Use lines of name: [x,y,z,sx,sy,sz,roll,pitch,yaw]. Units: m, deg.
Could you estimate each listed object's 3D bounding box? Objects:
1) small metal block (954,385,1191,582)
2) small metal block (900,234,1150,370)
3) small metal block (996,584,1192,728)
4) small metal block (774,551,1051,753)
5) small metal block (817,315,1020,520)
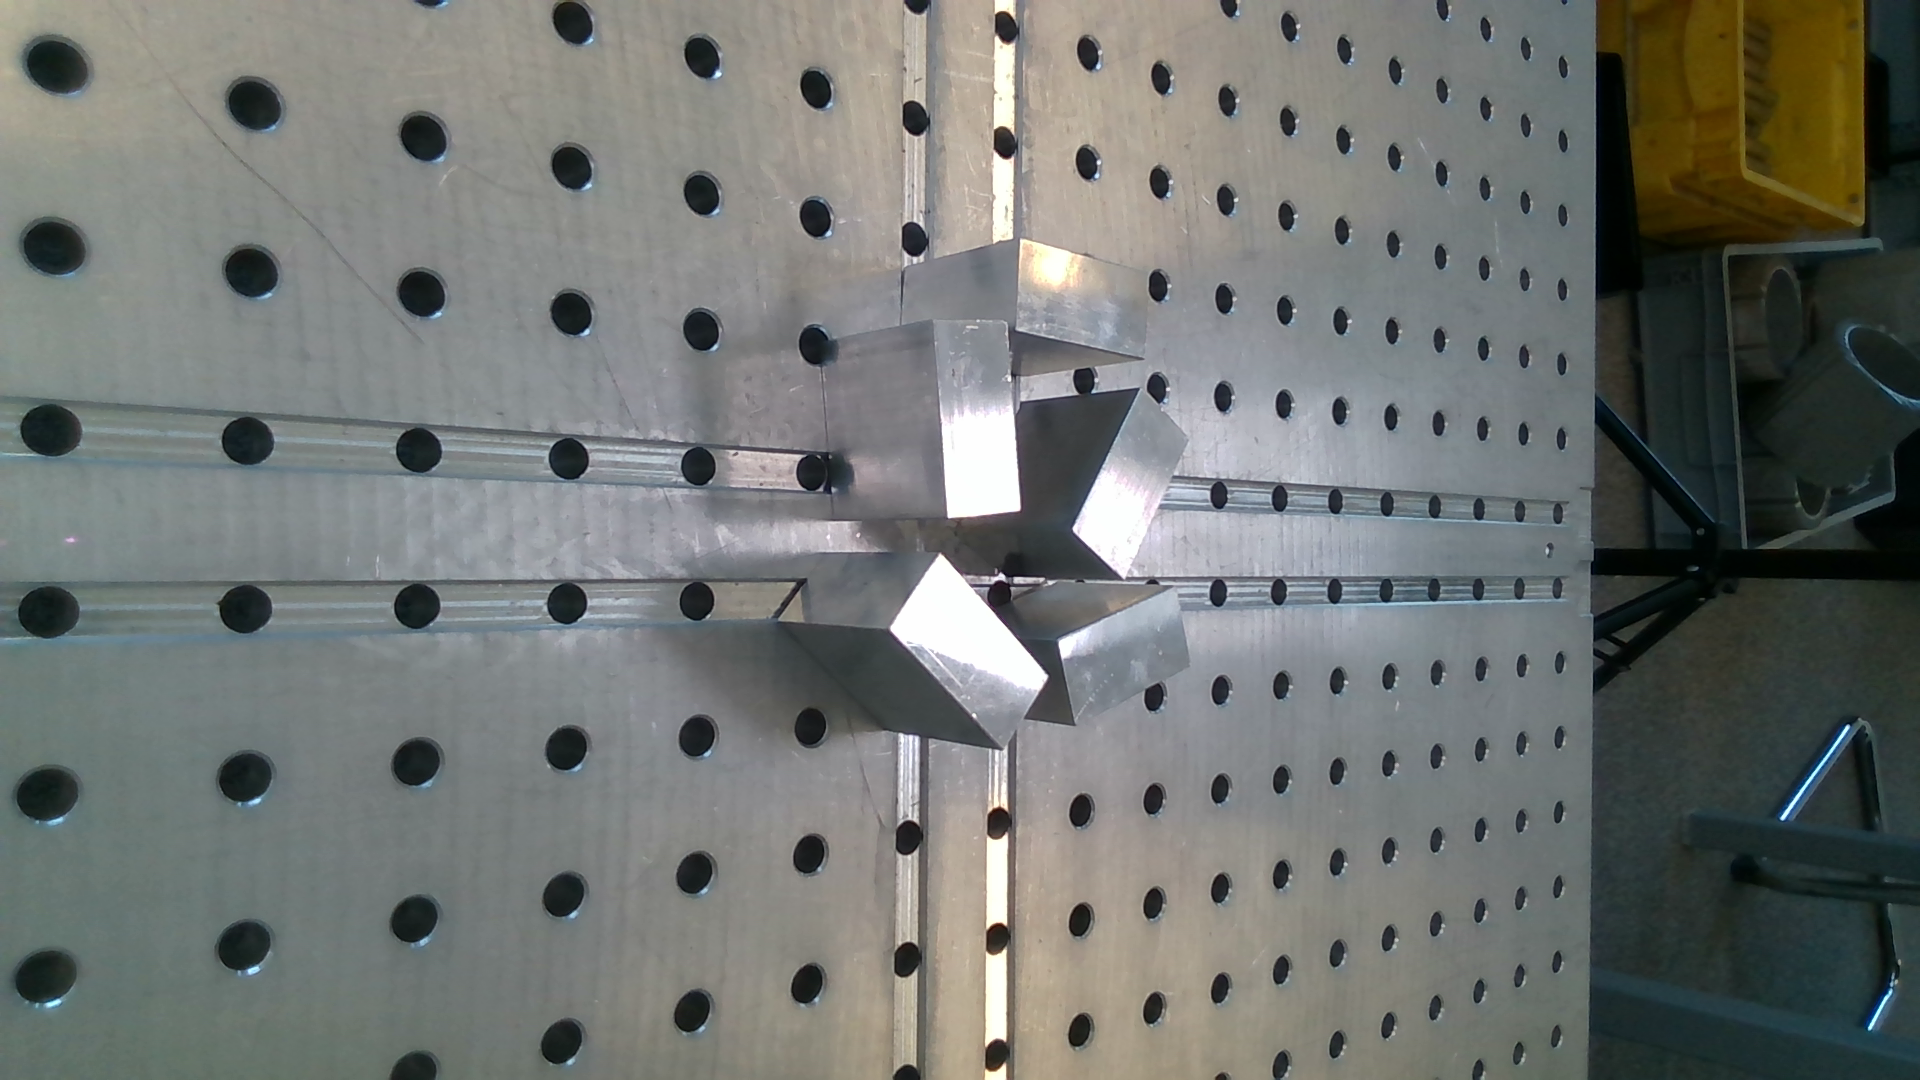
small metal block: [0.033,-0.016,0.405,0.025,0.050,0.050,41,65,-32]
small metal block: [0.018,-0.065,0.393,0.050,0.050,0.025,5,87,-40]
small metal block: [0.031,0.032,0.403,0.050,0.050,0.025,-21,103,-39]
small metal block: [-0.013,0.029,0.366,0.050,0.050,0.025,50,59,-29]
small metal block: [-0.012,-0.031,0.367,0.025,0.050,0.050,-7,94,-40]
